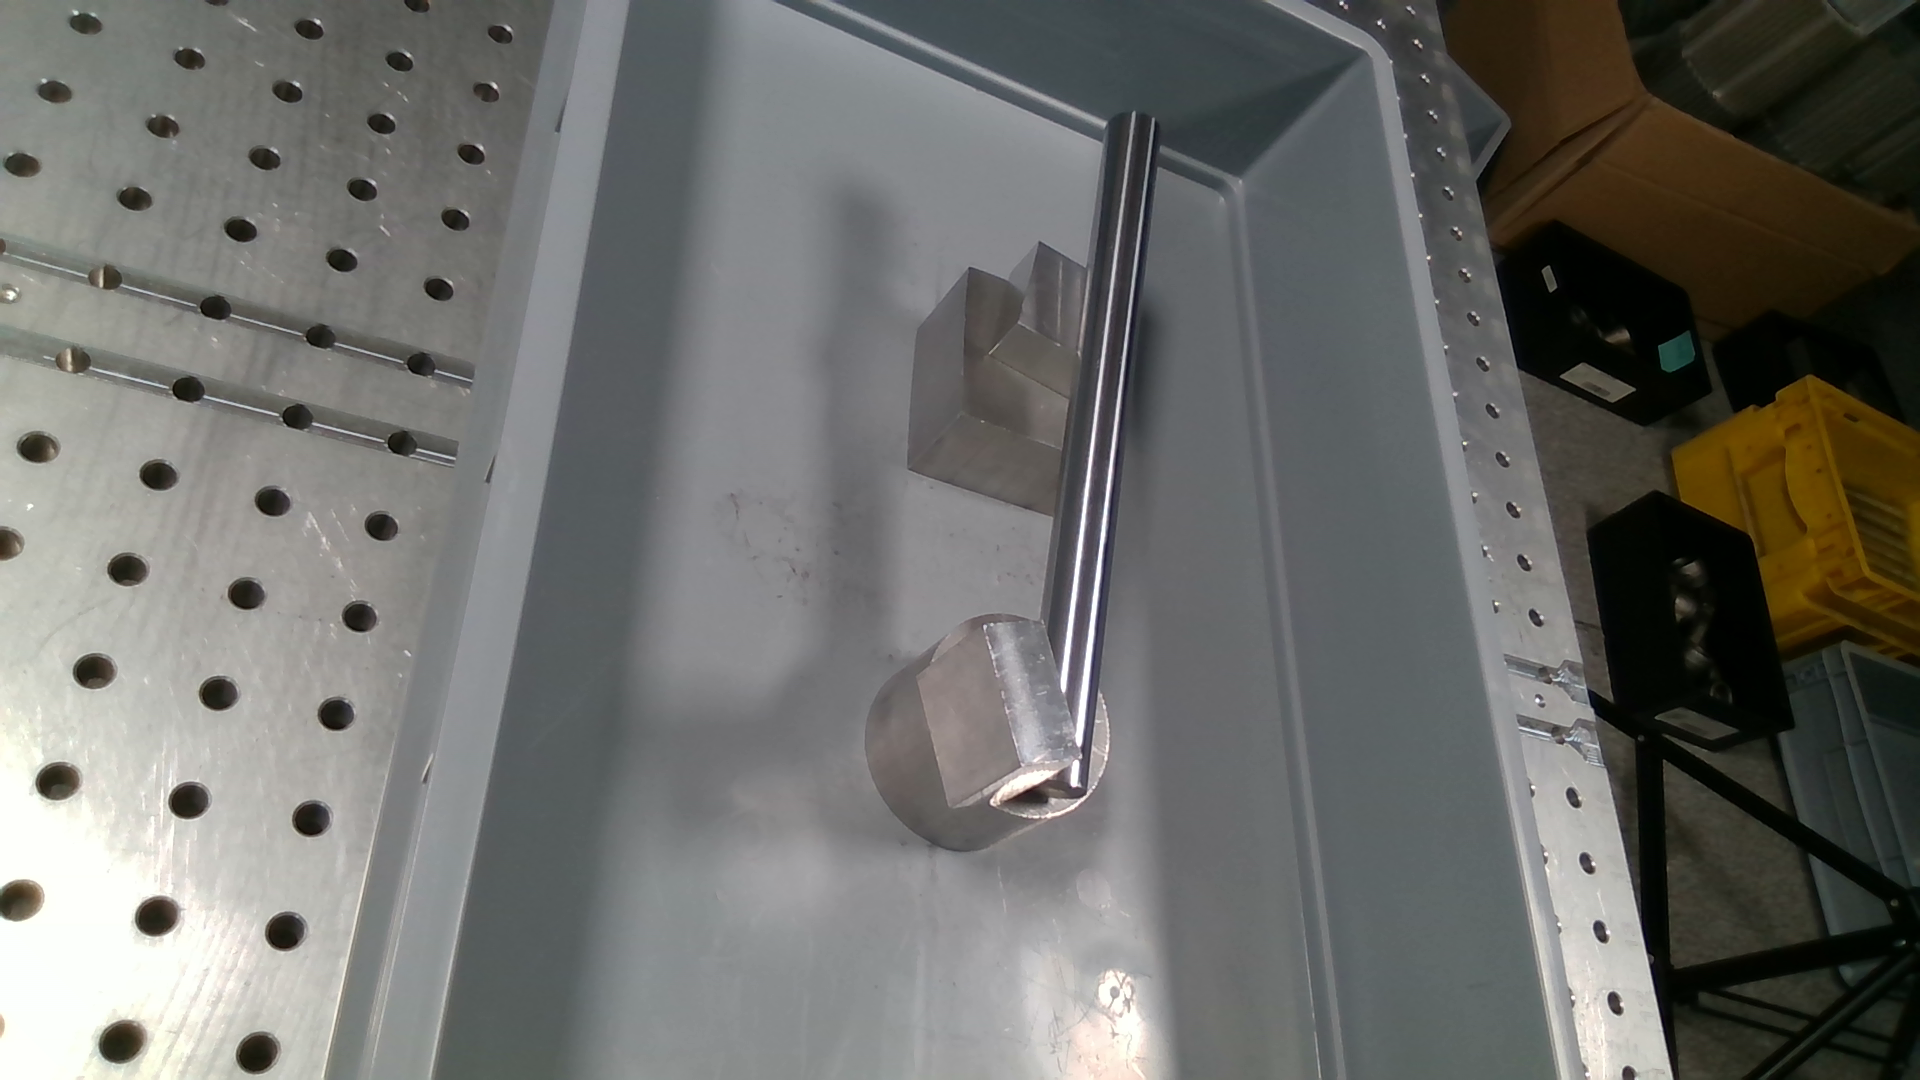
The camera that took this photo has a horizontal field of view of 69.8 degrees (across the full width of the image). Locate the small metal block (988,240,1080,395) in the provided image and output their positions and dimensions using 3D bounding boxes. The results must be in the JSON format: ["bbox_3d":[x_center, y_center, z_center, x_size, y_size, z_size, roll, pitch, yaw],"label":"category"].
[{"bbox_3d":[0.044,-0.093,0.597,0.050,0.025,0.050,26,54,-18],"label":"small metal block"}]

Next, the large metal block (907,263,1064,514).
[{"bbox_3d":[0.026,-0.065,0.618,0.080,0.050,0.080,17,58,-23],"label":"large metal block"}]

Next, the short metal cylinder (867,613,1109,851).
[{"bbox_3d":[0.010,0.075,0.534,0.080,0.050,0.080,14,59,-25],"label":"short metal cylinder"}]

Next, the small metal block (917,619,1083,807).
[{"bbox_3d":[0.013,0.060,0.478,0.025,0.050,0.050,-1,66,-32],"label":"small metal block"}]

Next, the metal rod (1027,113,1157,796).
[{"bbox_3d":[0.054,-0.046,0.552,0.025,0.025,0.299,19,64,-22],"label":"metal rod"}]
